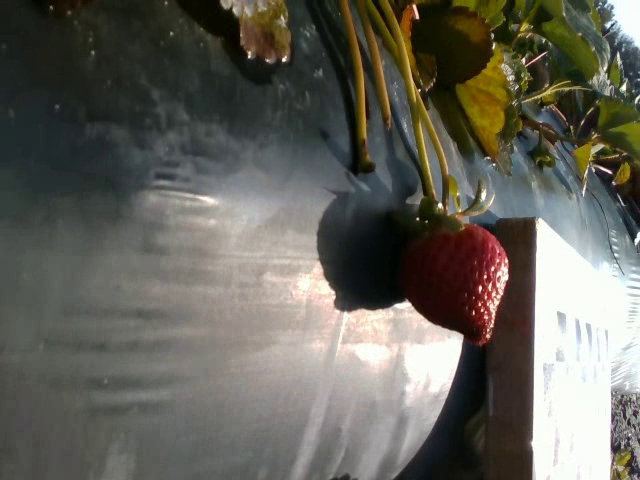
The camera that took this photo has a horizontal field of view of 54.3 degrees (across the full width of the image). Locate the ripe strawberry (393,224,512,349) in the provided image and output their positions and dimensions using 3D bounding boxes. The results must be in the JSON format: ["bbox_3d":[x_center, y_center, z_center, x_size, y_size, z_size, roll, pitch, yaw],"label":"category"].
[{"bbox_3d":[0.044,0.015,0.190,0.036,0.044,0.040,-16,1,33],"label":"ripe strawberry"}]
